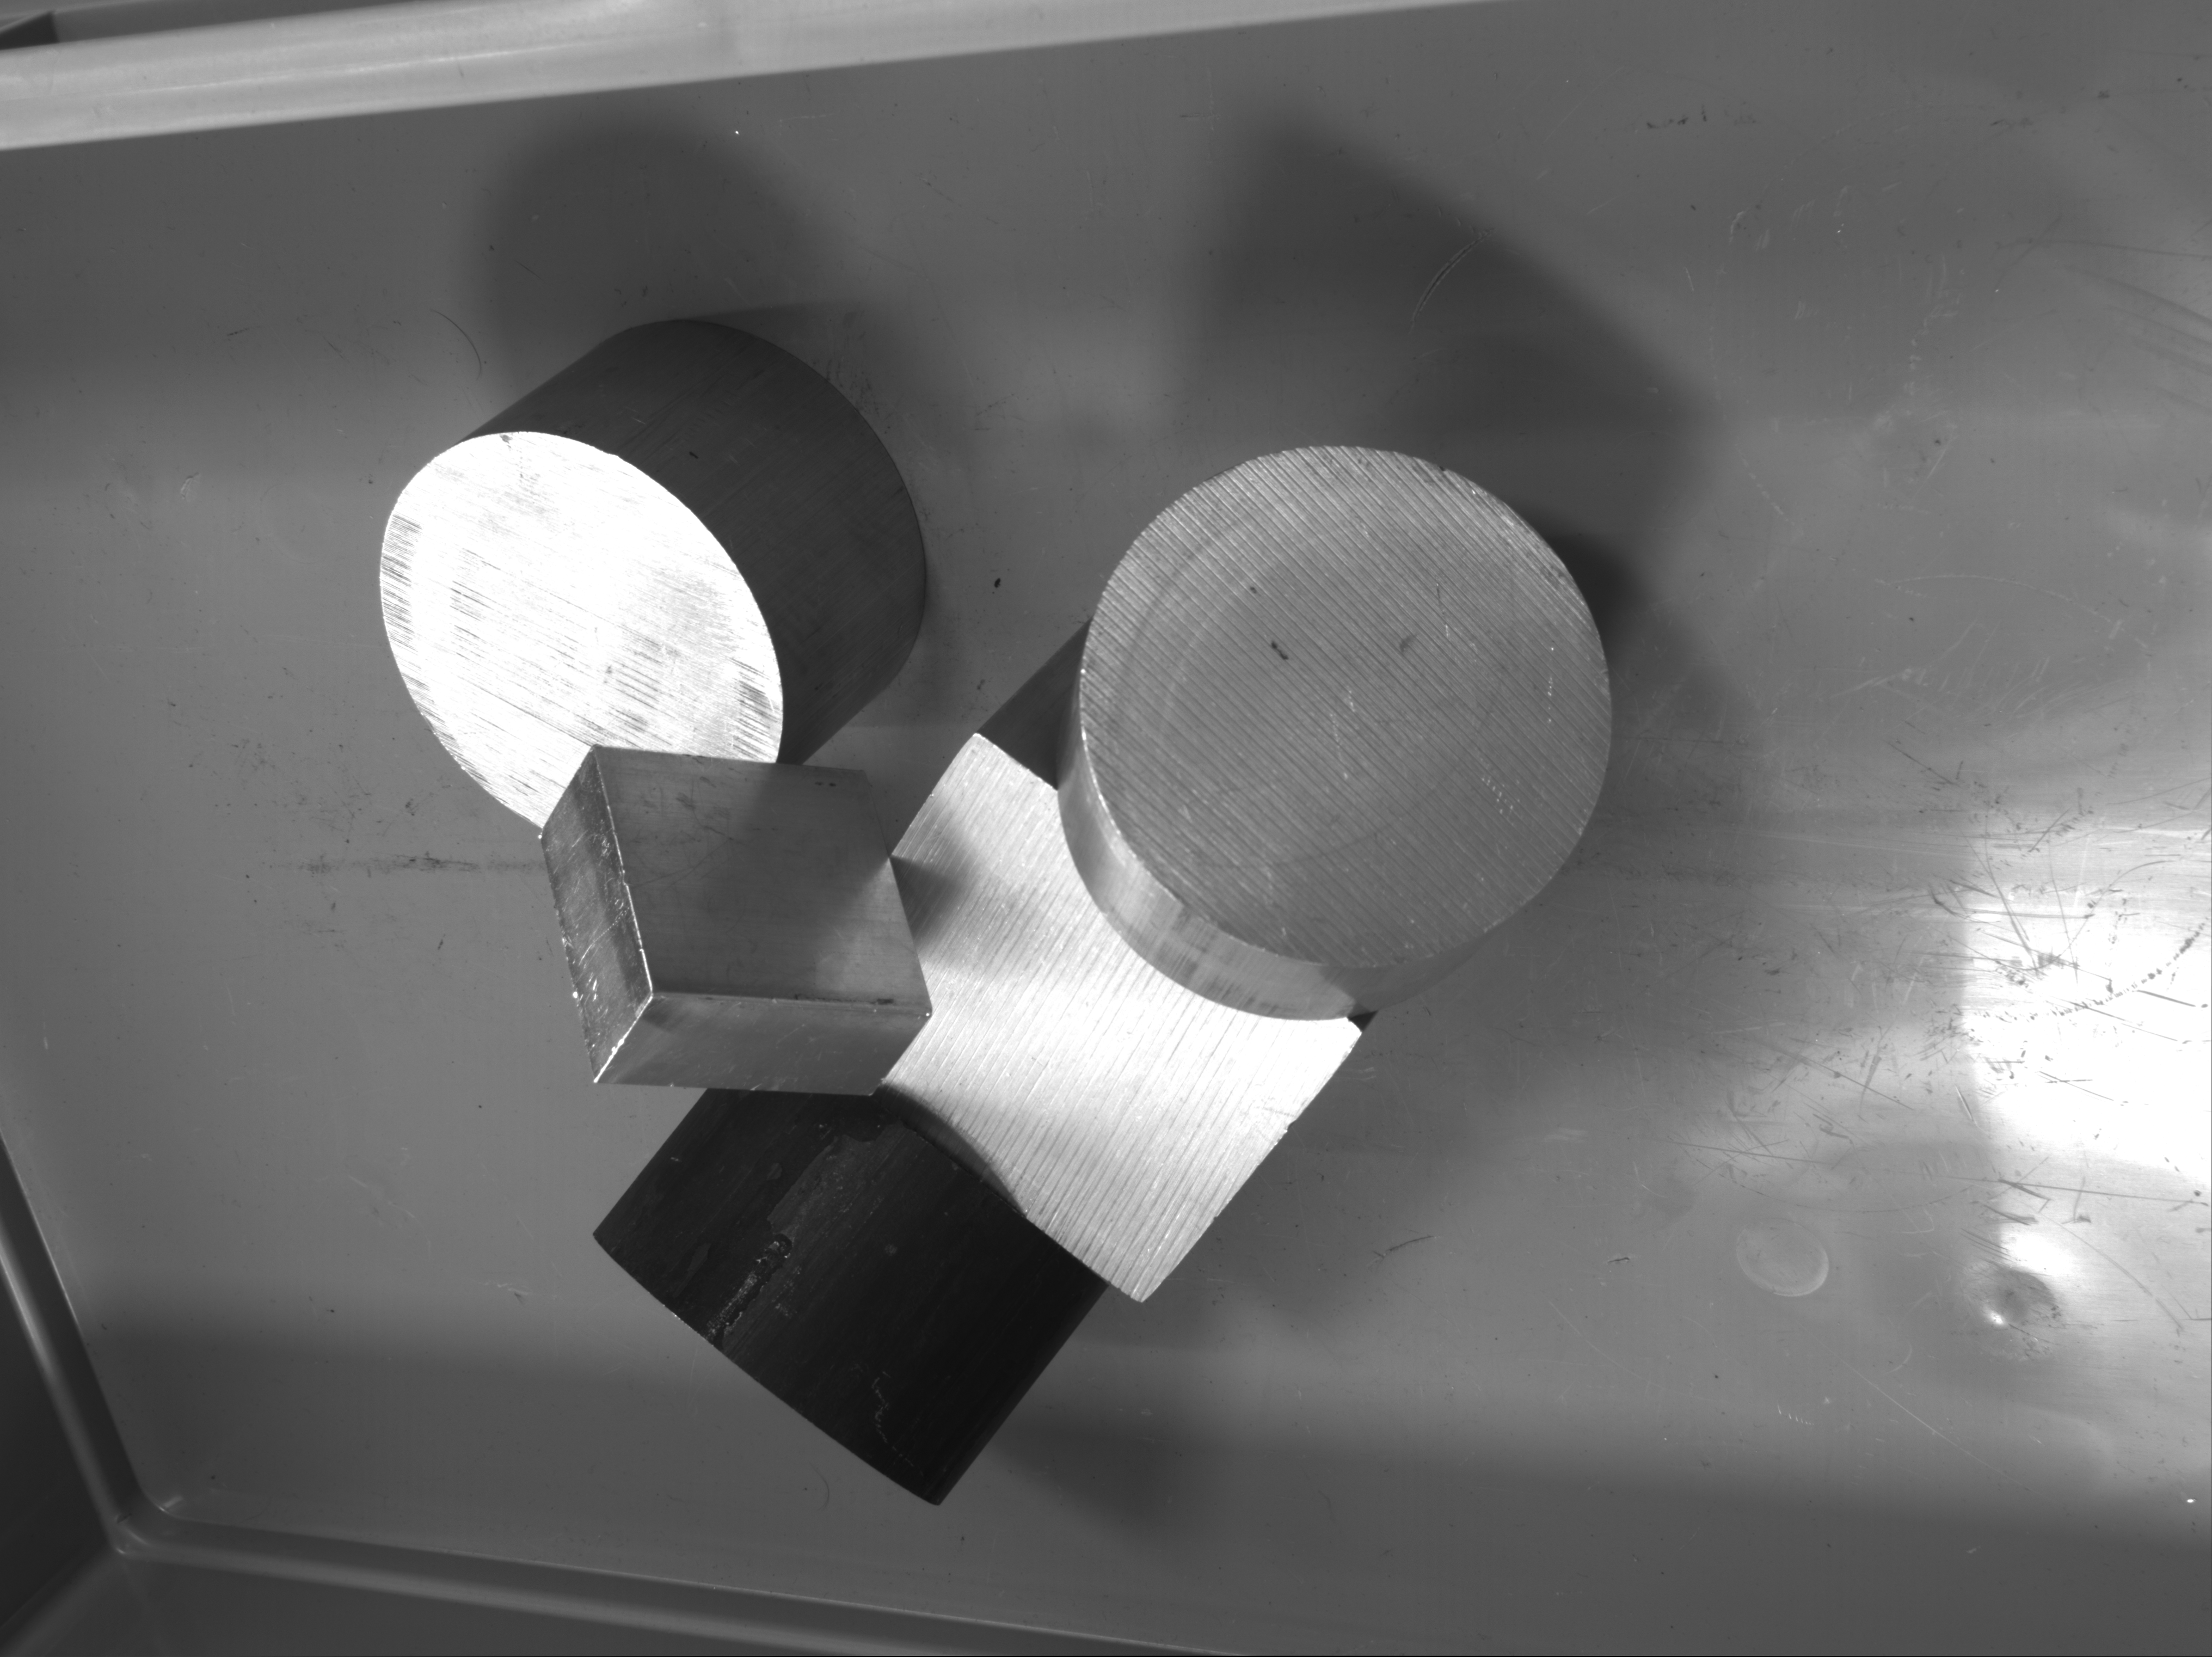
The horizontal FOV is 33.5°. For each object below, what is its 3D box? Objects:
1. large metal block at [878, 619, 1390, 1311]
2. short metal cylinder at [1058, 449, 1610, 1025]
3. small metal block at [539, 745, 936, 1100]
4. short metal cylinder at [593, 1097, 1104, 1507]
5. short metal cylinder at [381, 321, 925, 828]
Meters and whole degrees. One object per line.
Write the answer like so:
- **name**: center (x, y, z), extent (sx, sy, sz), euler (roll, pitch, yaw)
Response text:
- **large metal block**: center (0.003, 0.022, 0.634), extent (0.080, 0.050, 0.080), euler (38, 129, 3)
- **short metal cylinder**: center (0.034, -0.013, 0.571), extent (0.080, 0.080, 0.050), euler (37, 168, 3)
- **small metal block**: center (-0.061, 0.016, 0.604), extent (0.025, 0.050, 0.050), euler (-53, 44, 41)
- **short metal cylinder**: center (-0.047, 0.079, 0.671), extent (0.080, 0.080, 0.050), euler (38, 84, 5)
- **short metal cylinder**: center (-0.079, -0.042, 0.642), extent (0.080, 0.050, 0.080), euler (13, 124, 21)
